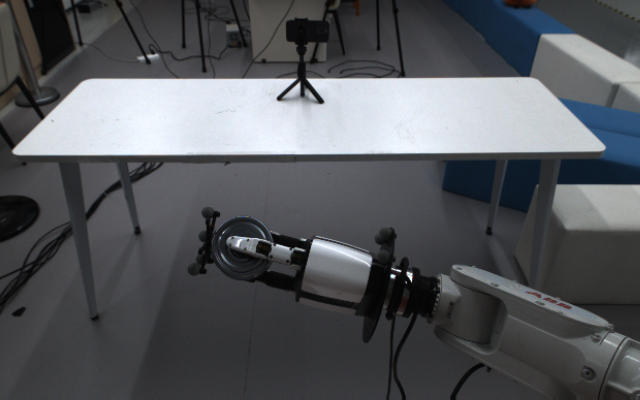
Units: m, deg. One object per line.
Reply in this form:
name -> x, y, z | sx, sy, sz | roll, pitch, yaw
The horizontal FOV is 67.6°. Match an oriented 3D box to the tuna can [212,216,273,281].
tuna can -> -0.103, 0.065, 0.663 | 0.085, 0.034, 0.085 | 1, 74, -5
